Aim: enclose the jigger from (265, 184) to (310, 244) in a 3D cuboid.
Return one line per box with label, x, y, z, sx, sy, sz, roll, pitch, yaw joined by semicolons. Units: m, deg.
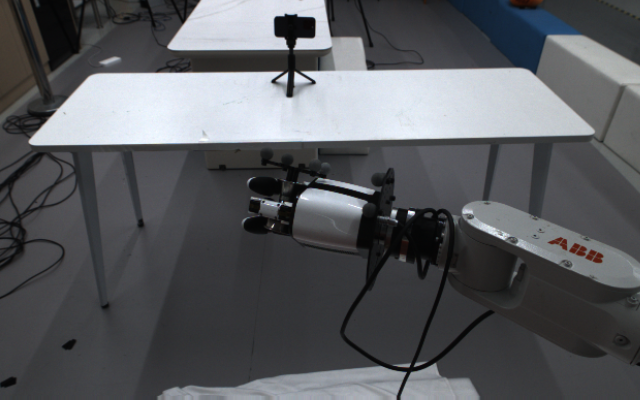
jigger;-0.043;0.008;0.648;0.043;0.071;0.043;14;1;0
